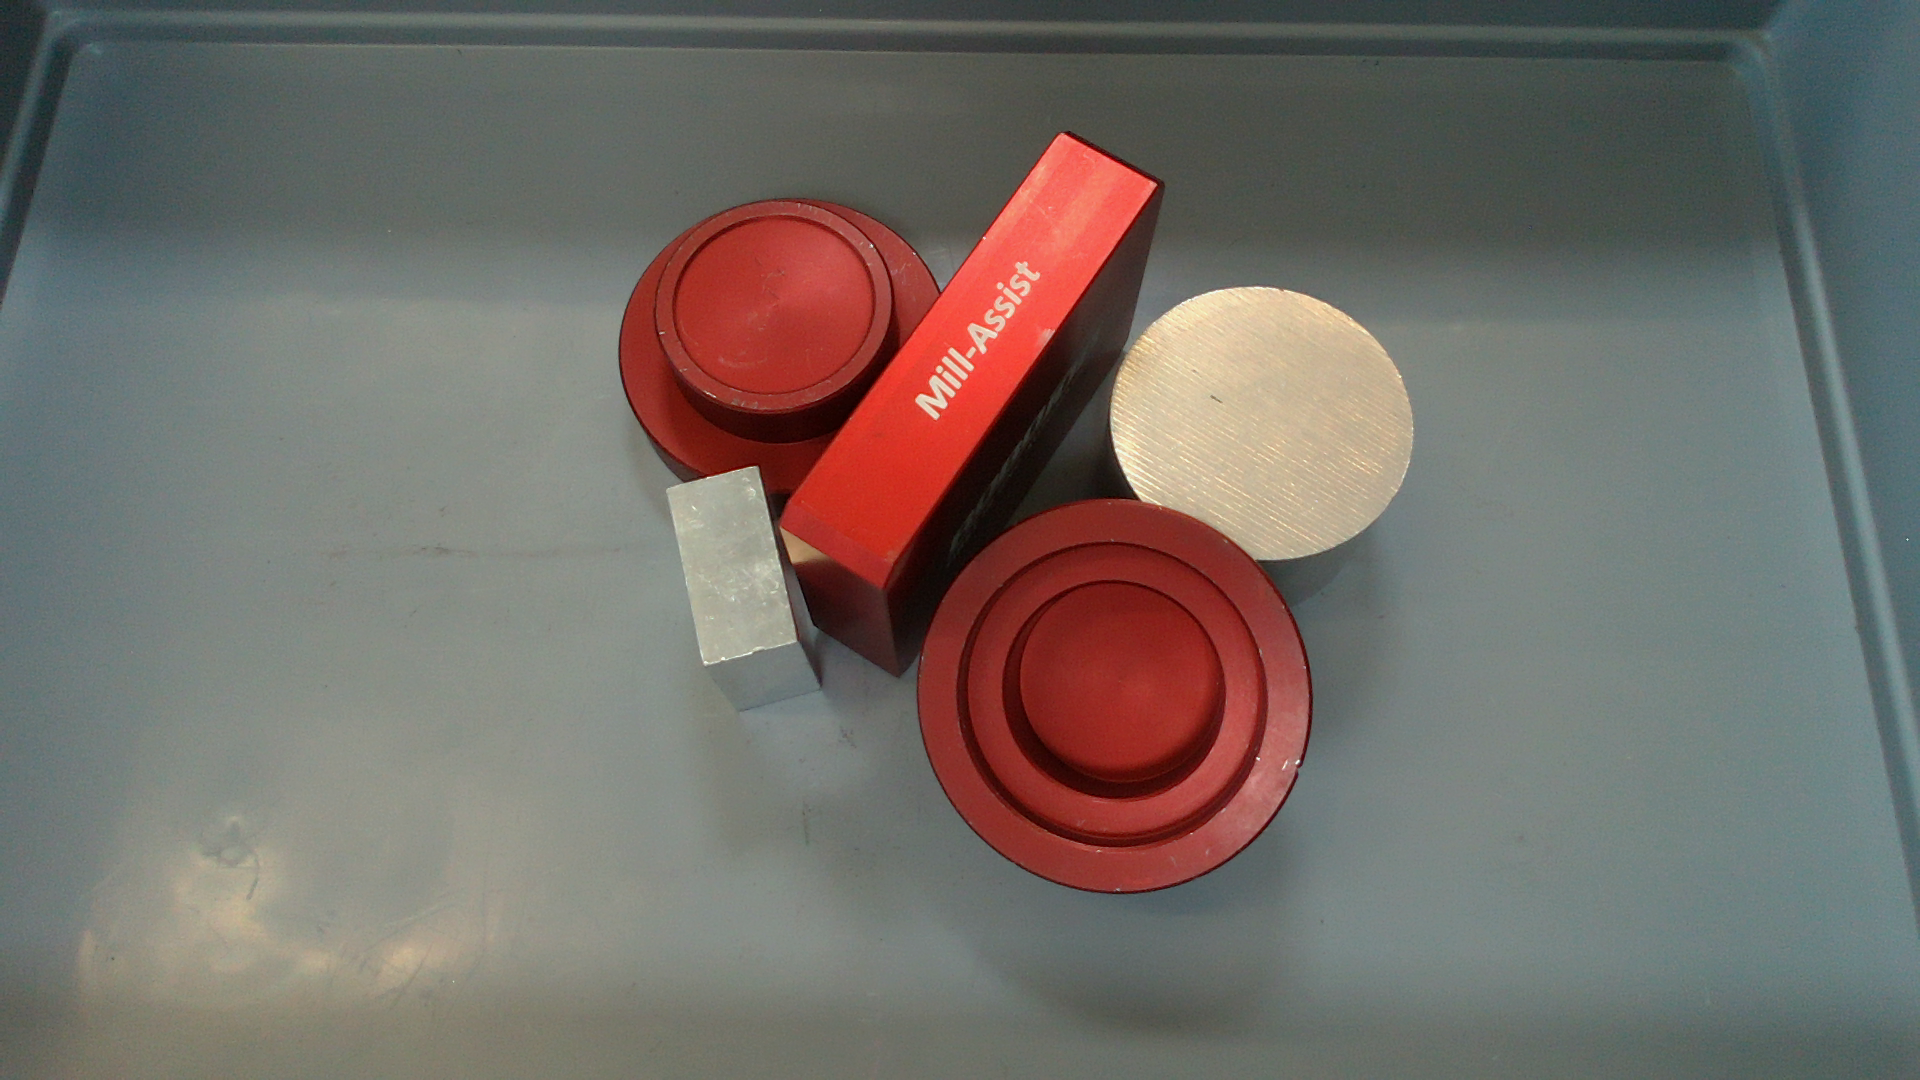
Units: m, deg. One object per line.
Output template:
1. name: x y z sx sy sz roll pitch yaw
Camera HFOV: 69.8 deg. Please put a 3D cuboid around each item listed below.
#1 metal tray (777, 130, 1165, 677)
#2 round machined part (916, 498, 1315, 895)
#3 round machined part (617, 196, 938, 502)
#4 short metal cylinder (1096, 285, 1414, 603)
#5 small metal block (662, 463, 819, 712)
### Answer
1. metal tray: 0.005 -0.034 0.371 0.030 0.090 0.130 31 73 11
2. round machined part: 0.041 0.038 0.358 0.098 0.042 0.098 0 91 10
3. round machined part: -0.052 -0.060 0.405 0.098 0.042 0.098 0 70 0
4. short metal cylinder: 0.081 -0.024 0.389 0.080 0.050 0.080 0 70 0
5. small metal block: -0.059 0.014 0.374 0.025 0.050 0.050 -14 71 -5
